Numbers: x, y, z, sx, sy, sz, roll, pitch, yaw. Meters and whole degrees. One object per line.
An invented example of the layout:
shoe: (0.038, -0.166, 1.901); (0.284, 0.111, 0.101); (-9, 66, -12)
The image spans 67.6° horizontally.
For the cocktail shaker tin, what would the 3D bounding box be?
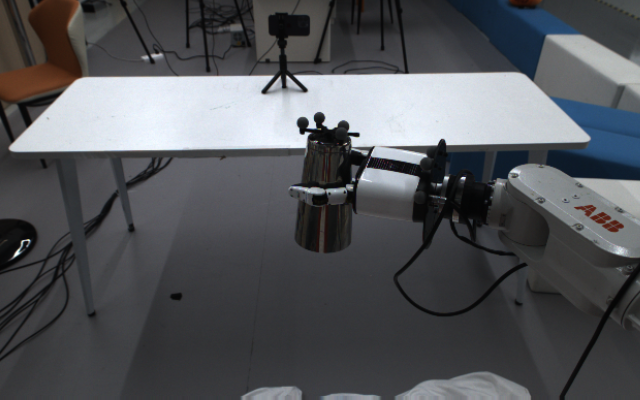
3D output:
cocktail shaker tin: (0.009, -0.016, 0.745); (0.093, 0.170, 0.093); (2, 26, -1)
